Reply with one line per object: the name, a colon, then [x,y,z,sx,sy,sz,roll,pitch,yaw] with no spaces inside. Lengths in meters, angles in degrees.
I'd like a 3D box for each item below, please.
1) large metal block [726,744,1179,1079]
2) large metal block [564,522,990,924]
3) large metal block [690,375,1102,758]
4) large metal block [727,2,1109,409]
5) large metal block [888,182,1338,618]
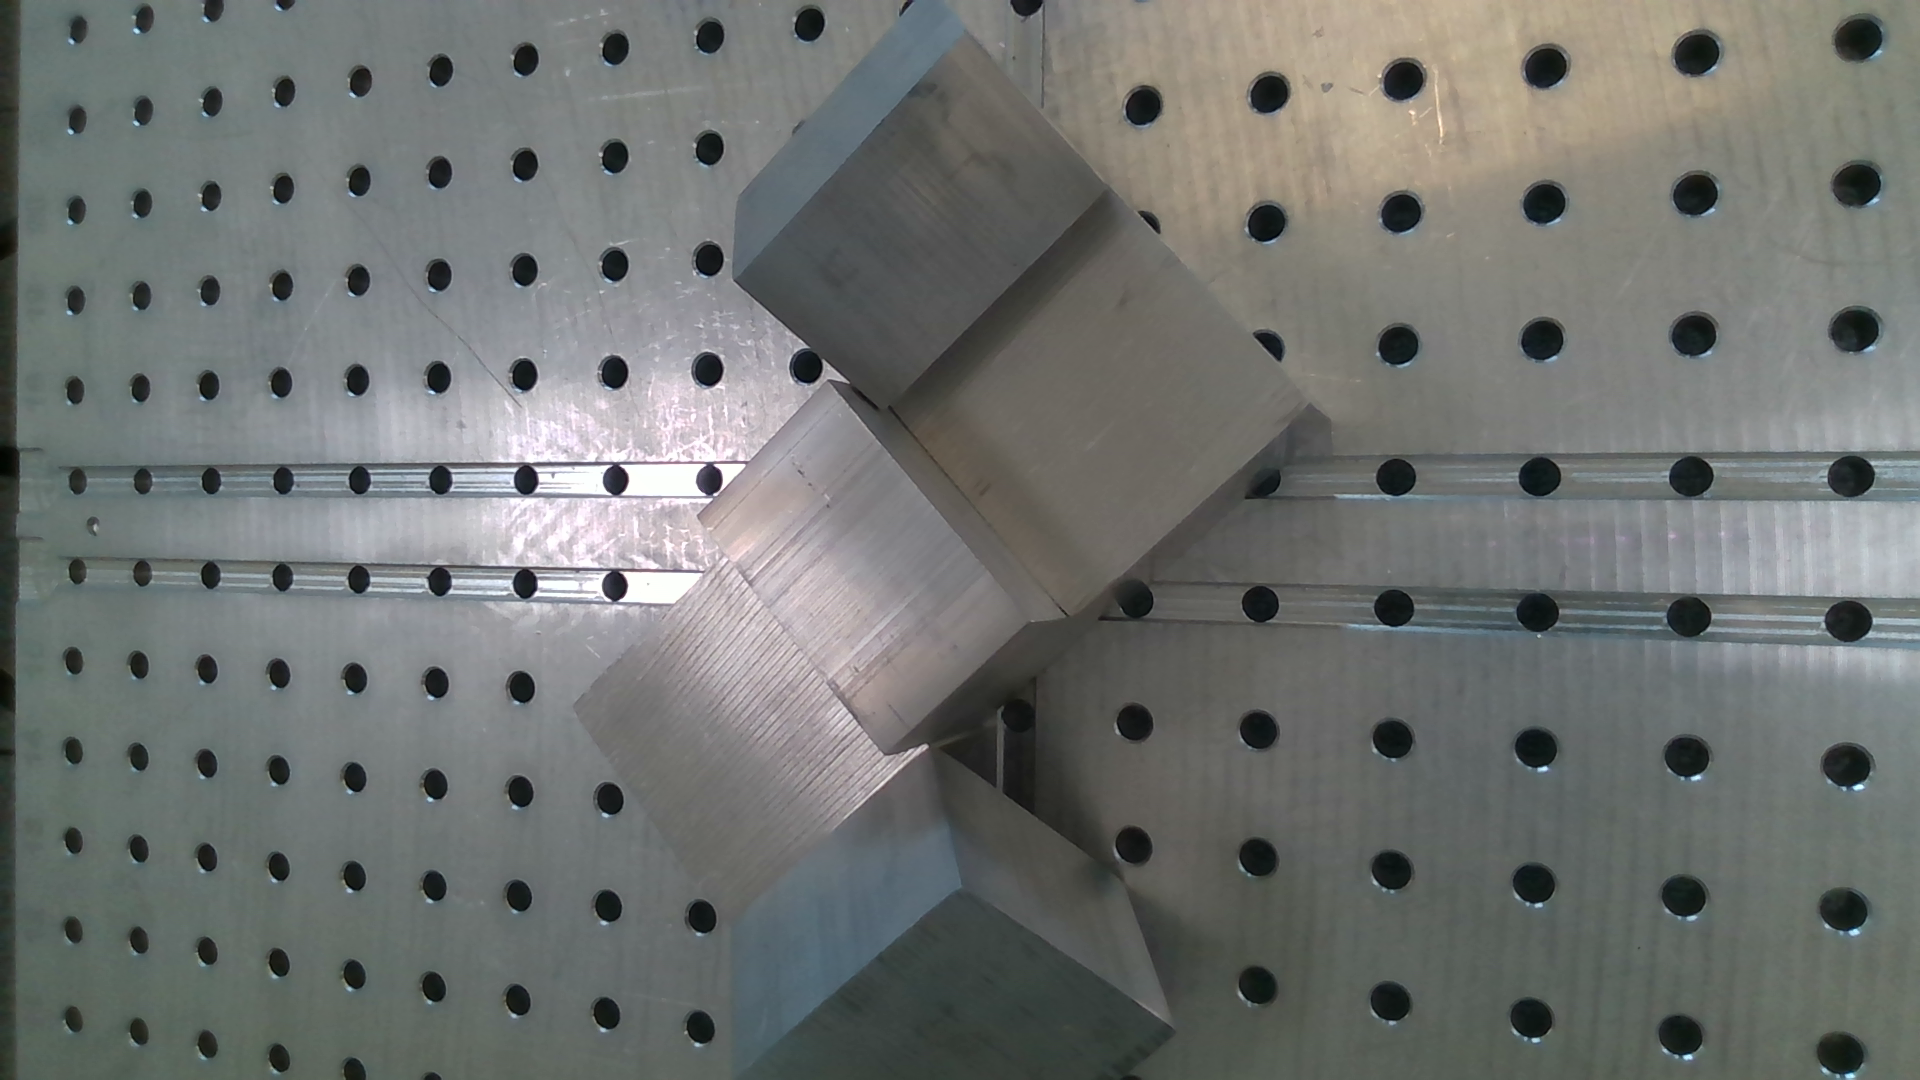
large metal block: [-0.004,0.114,0.363,0.080,0.050,0.080,-43,117,16]
large metal block: [-0.053,0.050,0.402,0.080,0.050,0.080,-43,77,14]
large metal block: [-0.012,0.005,0.371,0.050,0.080,0.080,-44,76,16]
large metal block: [-0.015,-0.093,0.364,0.080,0.080,0.050,-43,115,15]
large metal block: [0.040,-0.037,0.368,0.080,0.050,0.080,-44,75,16]
